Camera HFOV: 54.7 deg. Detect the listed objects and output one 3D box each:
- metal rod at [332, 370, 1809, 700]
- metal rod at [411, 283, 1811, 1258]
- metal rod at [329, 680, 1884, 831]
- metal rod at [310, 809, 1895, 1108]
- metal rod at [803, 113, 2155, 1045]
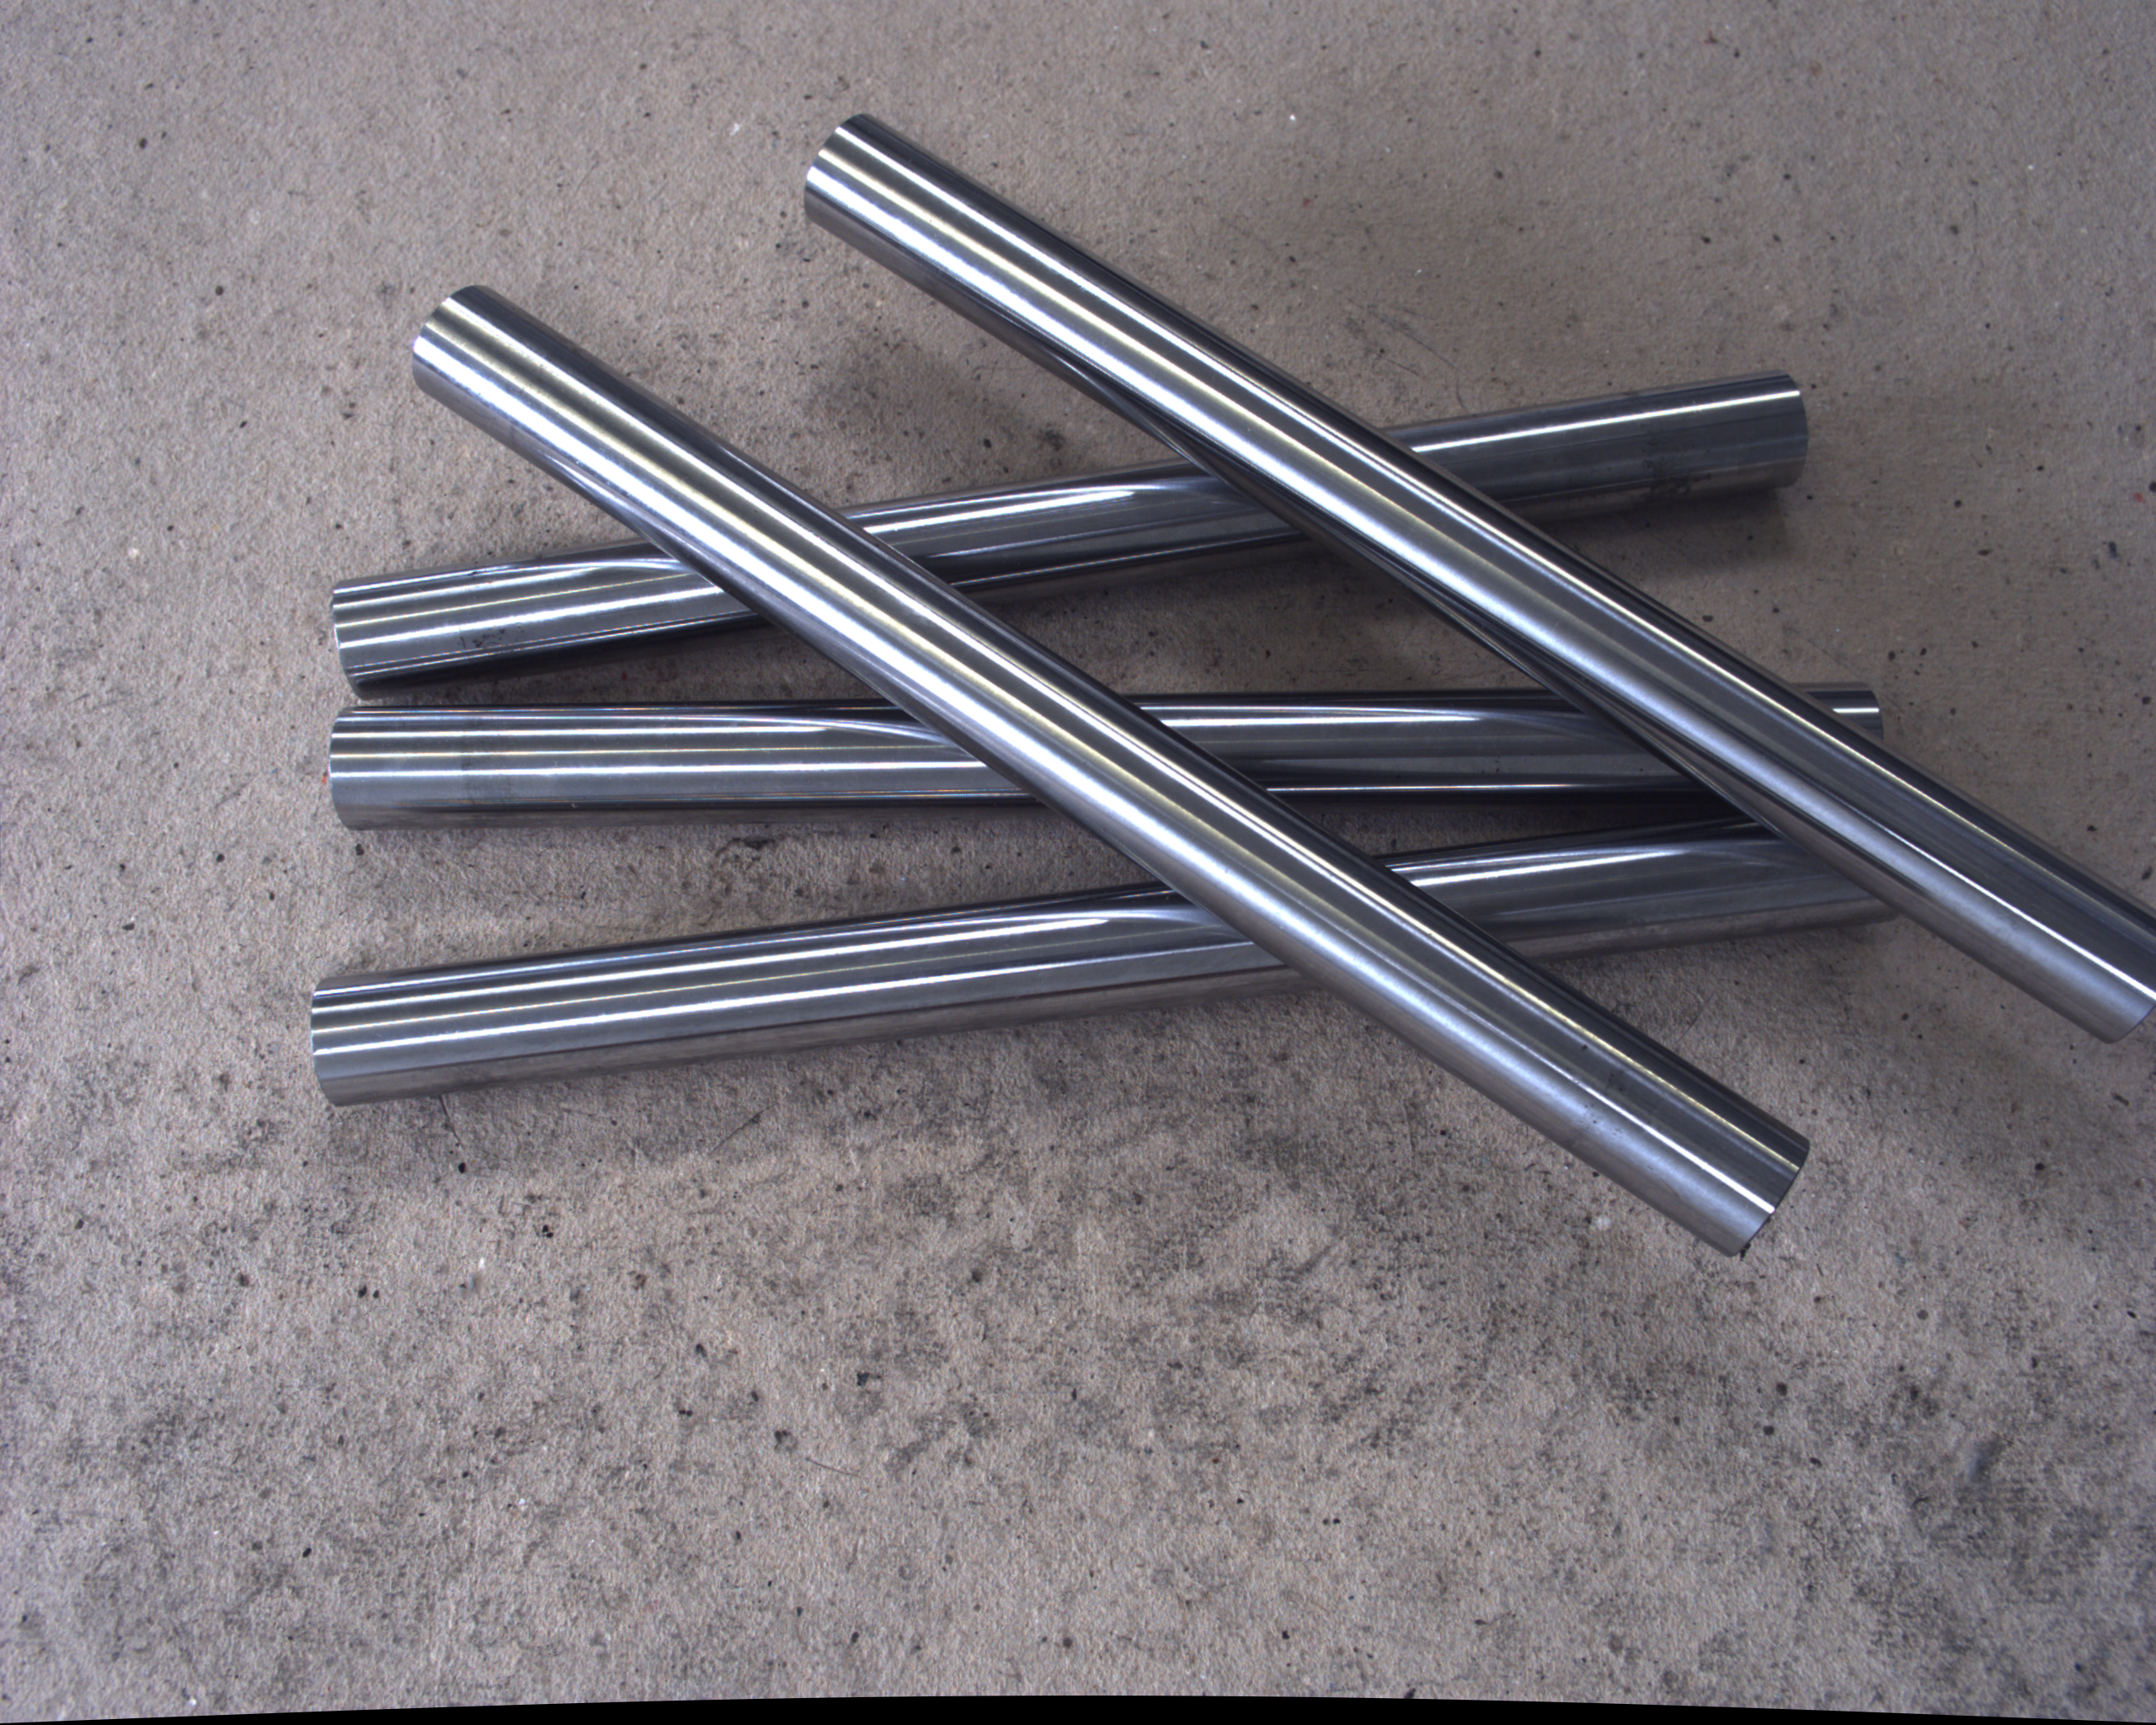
[{"bbox_3d":[0.001,-0.069,0.434,0.302,0.025,0.025,-9,70,-4],"label":"metal rod"},{"bbox_3d":[-0.003,-0.024,0.391,0.300,0.025,0.025,34,74,11],"label":"metal rod"},{"bbox_3d":[0.006,-0.021,0.417,0.302,0.025,0.025,-1,70,-1],"label":"metal rod"},{"bbox_3d":[0.008,0.016,0.403,0.302,0.025,0.025,-7,70,-3],"label":"metal rod"},{"bbox_3d":[0.072,-0.061,0.405,0.300,0.025,0.025,35,74,11],"label":"metal rod"}]
